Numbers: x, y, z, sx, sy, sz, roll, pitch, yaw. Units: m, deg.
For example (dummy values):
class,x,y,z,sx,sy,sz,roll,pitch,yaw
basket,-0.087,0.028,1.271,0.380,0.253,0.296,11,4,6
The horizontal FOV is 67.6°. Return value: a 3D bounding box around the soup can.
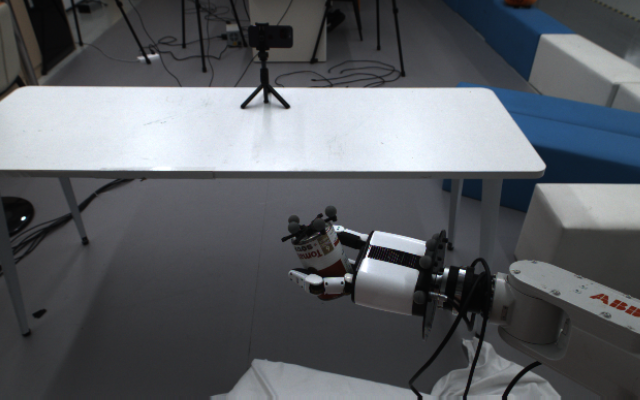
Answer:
class,x,y,z,sx,sy,sz,roll,pitch,yaw
soup can,0.009,0.090,0.728,0.067,0.101,0.067,-23,16,7
